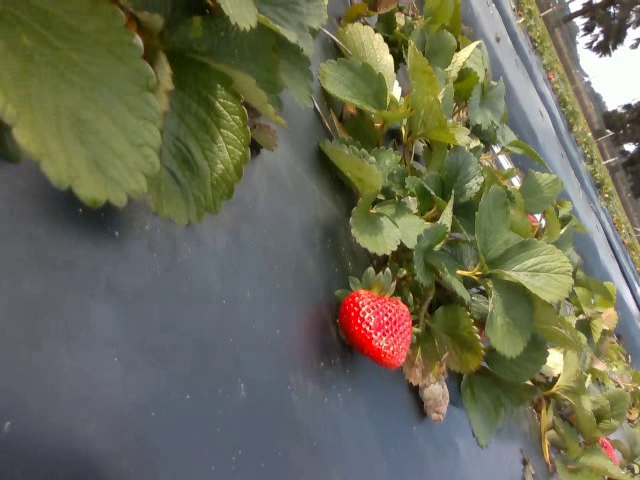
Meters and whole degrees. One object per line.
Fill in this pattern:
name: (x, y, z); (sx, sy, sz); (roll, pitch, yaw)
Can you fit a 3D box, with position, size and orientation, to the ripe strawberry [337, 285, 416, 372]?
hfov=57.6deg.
ripe strawberry: (0.032, 0.049, 0.307); (0.050, 0.046, 0.058); (-27, 33, 10)
